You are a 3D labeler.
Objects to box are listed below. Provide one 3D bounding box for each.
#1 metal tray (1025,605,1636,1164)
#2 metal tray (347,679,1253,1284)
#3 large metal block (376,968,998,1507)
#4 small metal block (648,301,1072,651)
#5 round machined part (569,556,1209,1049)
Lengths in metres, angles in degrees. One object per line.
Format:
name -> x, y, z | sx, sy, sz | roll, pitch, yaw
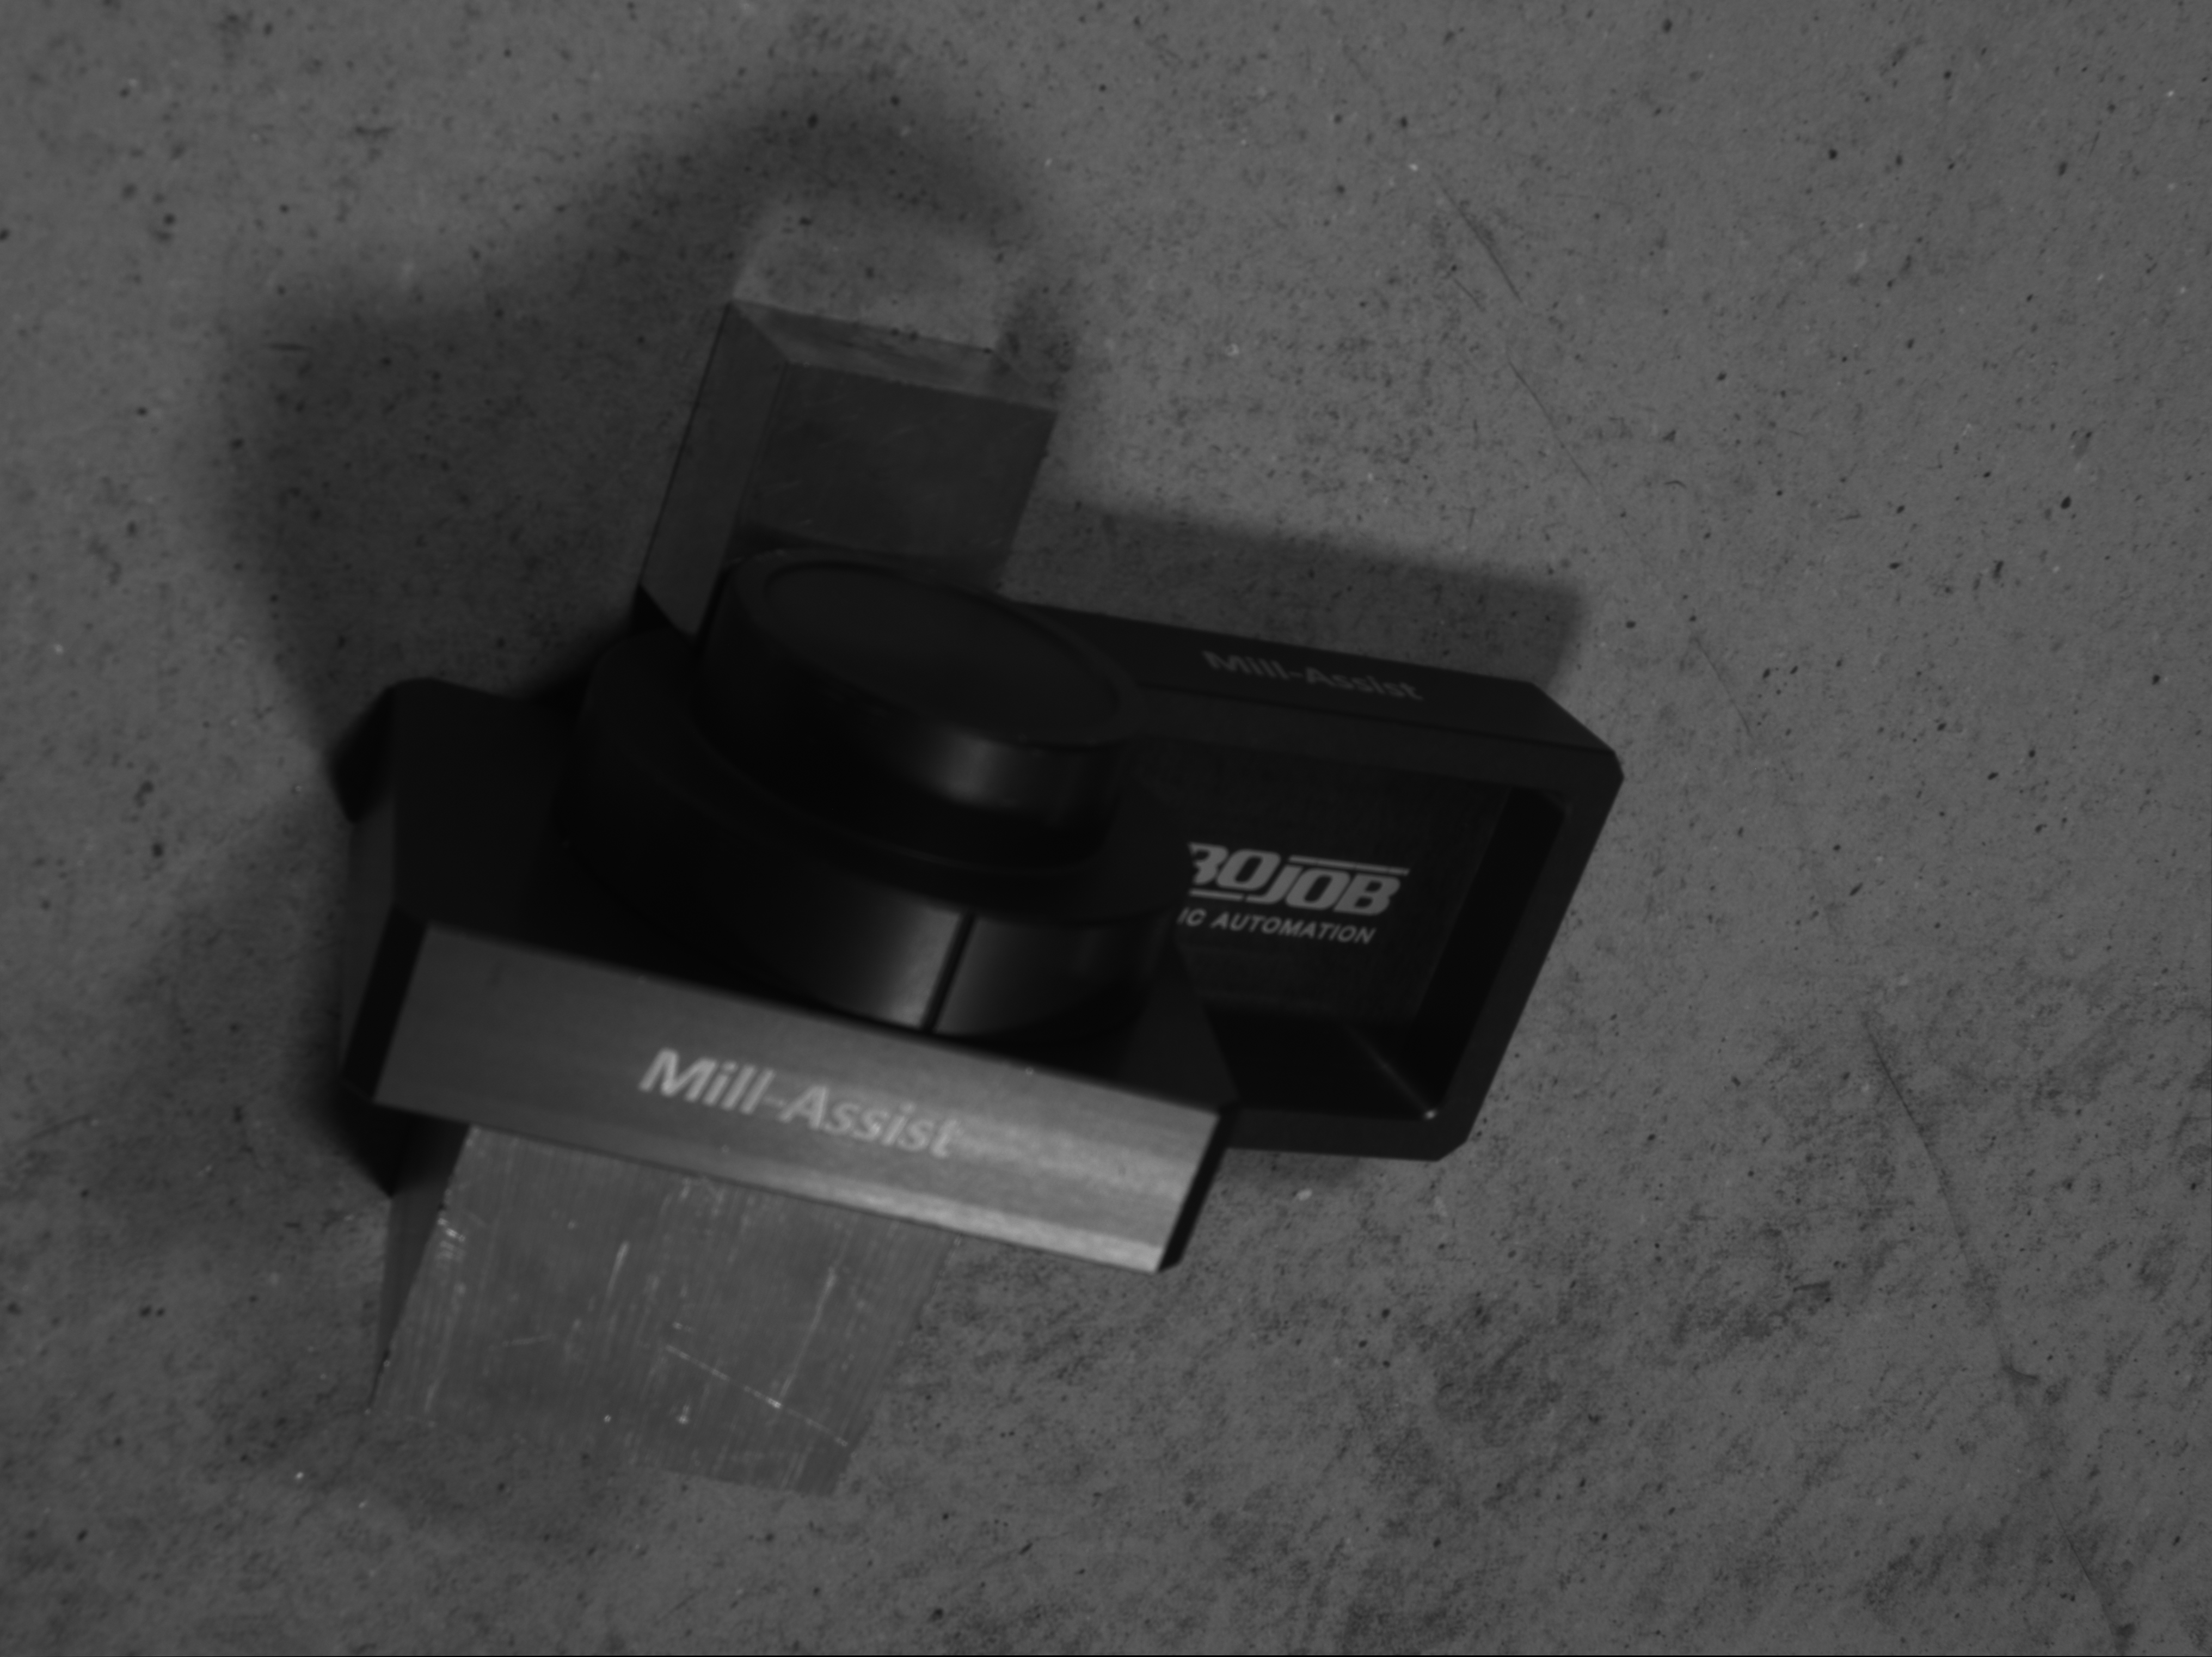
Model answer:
metal tray -> 0.025, 0.013, 0.670 | 0.130, 0.030, 0.090 | 7, 115, -33
metal tray -> -0.049, 0.022, 0.571 | 0.130, 0.090, 0.030 | 15, 112, -16
large metal block -> -0.070, 0.060, 0.607 | 0.080, 0.050, 0.080 | 14, 125, -17
small metal block -> -0.040, -0.054, 0.595 | 0.050, 0.025, 0.050 | 7, 114, -33
round machined part -> -0.030, -0.009, 0.566 | 0.098, 0.098, 0.042 | 7, 115, -33
